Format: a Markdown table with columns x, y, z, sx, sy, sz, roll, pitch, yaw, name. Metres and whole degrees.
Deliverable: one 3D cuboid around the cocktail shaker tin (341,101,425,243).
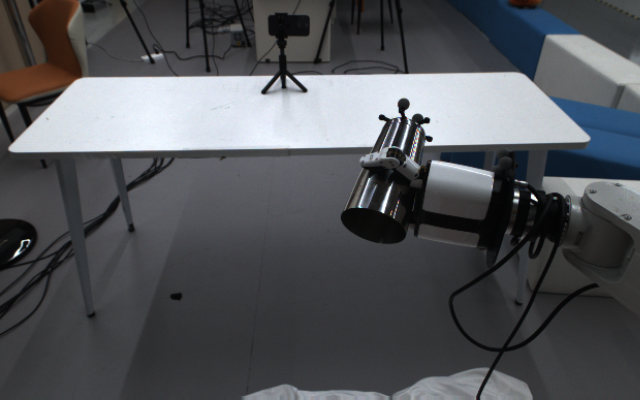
| x | y | z | sx | sy | sz | roll | pitch | yaw | name |
| --- | --- | --- | --- | --- | --- | --- | --- | --- | --- |
| 0.098 | -0.034 | 0.690 | 0.093 | 0.093 | 0.170 | 14 | 61 | 17 | cocktail shaker tin |
